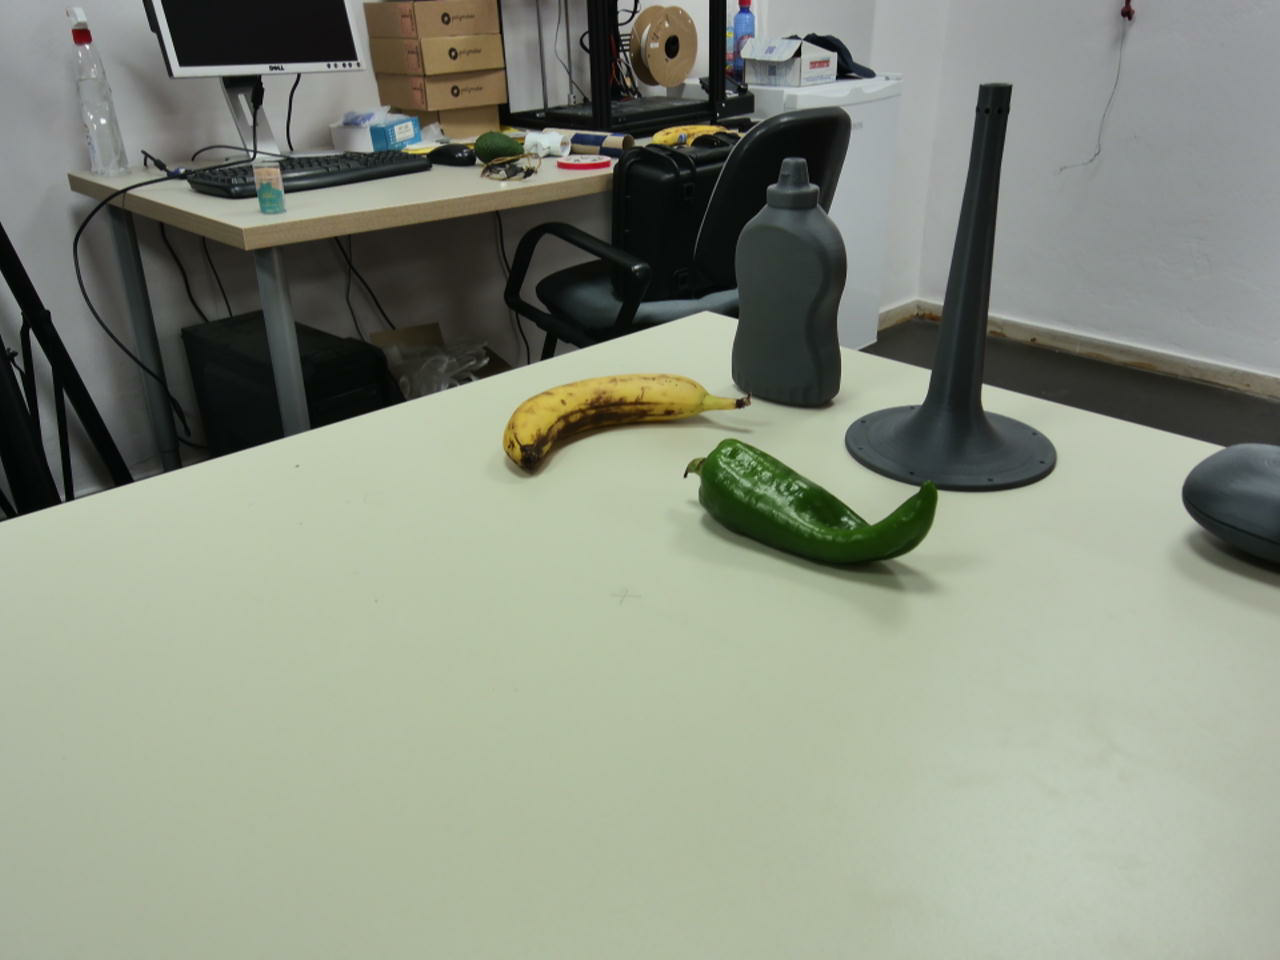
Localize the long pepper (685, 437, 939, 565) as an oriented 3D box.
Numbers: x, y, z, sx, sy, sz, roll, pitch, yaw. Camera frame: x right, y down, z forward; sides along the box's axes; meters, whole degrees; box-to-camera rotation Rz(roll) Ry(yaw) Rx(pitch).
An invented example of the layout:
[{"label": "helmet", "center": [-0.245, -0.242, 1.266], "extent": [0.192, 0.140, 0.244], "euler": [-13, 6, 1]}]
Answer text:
[{"label": "long pepper", "center": [0.094, 0.009, 0.610], "extent": [0.058, 0.065, 0.175], "euler": [-21, 32, -39]}]
